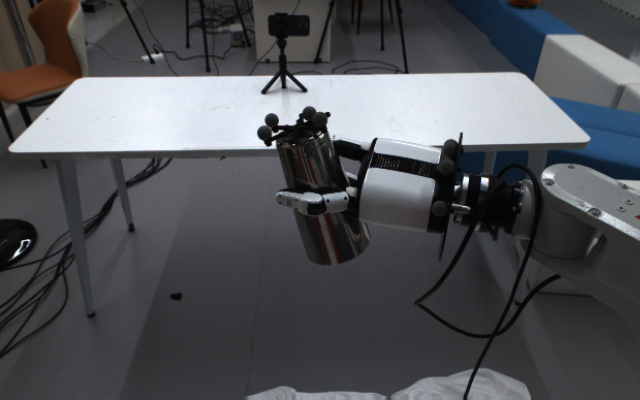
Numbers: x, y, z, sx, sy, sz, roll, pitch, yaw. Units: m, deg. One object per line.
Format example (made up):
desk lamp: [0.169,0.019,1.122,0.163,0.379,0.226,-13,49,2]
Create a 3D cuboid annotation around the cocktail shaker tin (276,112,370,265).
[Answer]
cocktail shaker tin: [0.002,-0.010,0.628,0.093,0.170,0.093,-15,29,8]
